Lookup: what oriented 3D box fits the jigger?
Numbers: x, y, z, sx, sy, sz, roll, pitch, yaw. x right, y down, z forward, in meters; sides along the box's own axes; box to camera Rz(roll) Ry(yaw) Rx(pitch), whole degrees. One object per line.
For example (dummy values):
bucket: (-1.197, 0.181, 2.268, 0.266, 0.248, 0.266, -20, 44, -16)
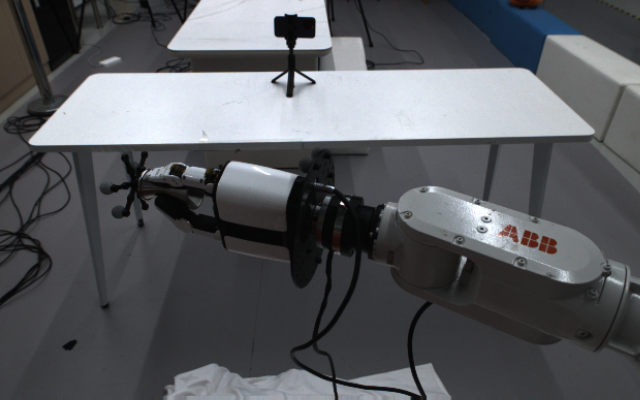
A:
jigger: (-0.177, -0.019, 0.596, 0.071, 0.043, 0.043, 8, 35, 14)
